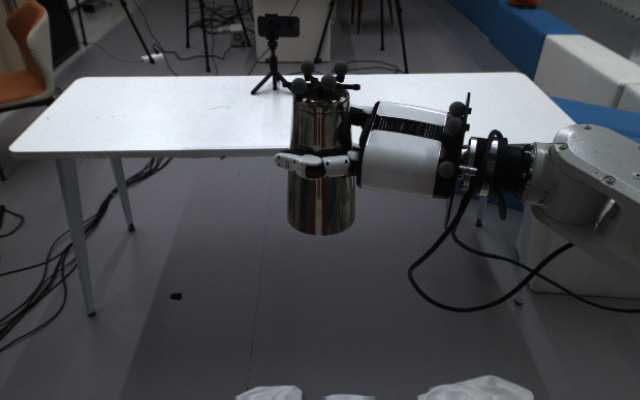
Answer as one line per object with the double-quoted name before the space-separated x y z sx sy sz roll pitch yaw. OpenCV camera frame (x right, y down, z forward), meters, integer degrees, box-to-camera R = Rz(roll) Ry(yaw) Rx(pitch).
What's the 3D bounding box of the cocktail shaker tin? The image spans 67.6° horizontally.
"cocktail shaker tin" 0.004 -0.052 0.602 0.093 0.170 0.093 0 33 0
